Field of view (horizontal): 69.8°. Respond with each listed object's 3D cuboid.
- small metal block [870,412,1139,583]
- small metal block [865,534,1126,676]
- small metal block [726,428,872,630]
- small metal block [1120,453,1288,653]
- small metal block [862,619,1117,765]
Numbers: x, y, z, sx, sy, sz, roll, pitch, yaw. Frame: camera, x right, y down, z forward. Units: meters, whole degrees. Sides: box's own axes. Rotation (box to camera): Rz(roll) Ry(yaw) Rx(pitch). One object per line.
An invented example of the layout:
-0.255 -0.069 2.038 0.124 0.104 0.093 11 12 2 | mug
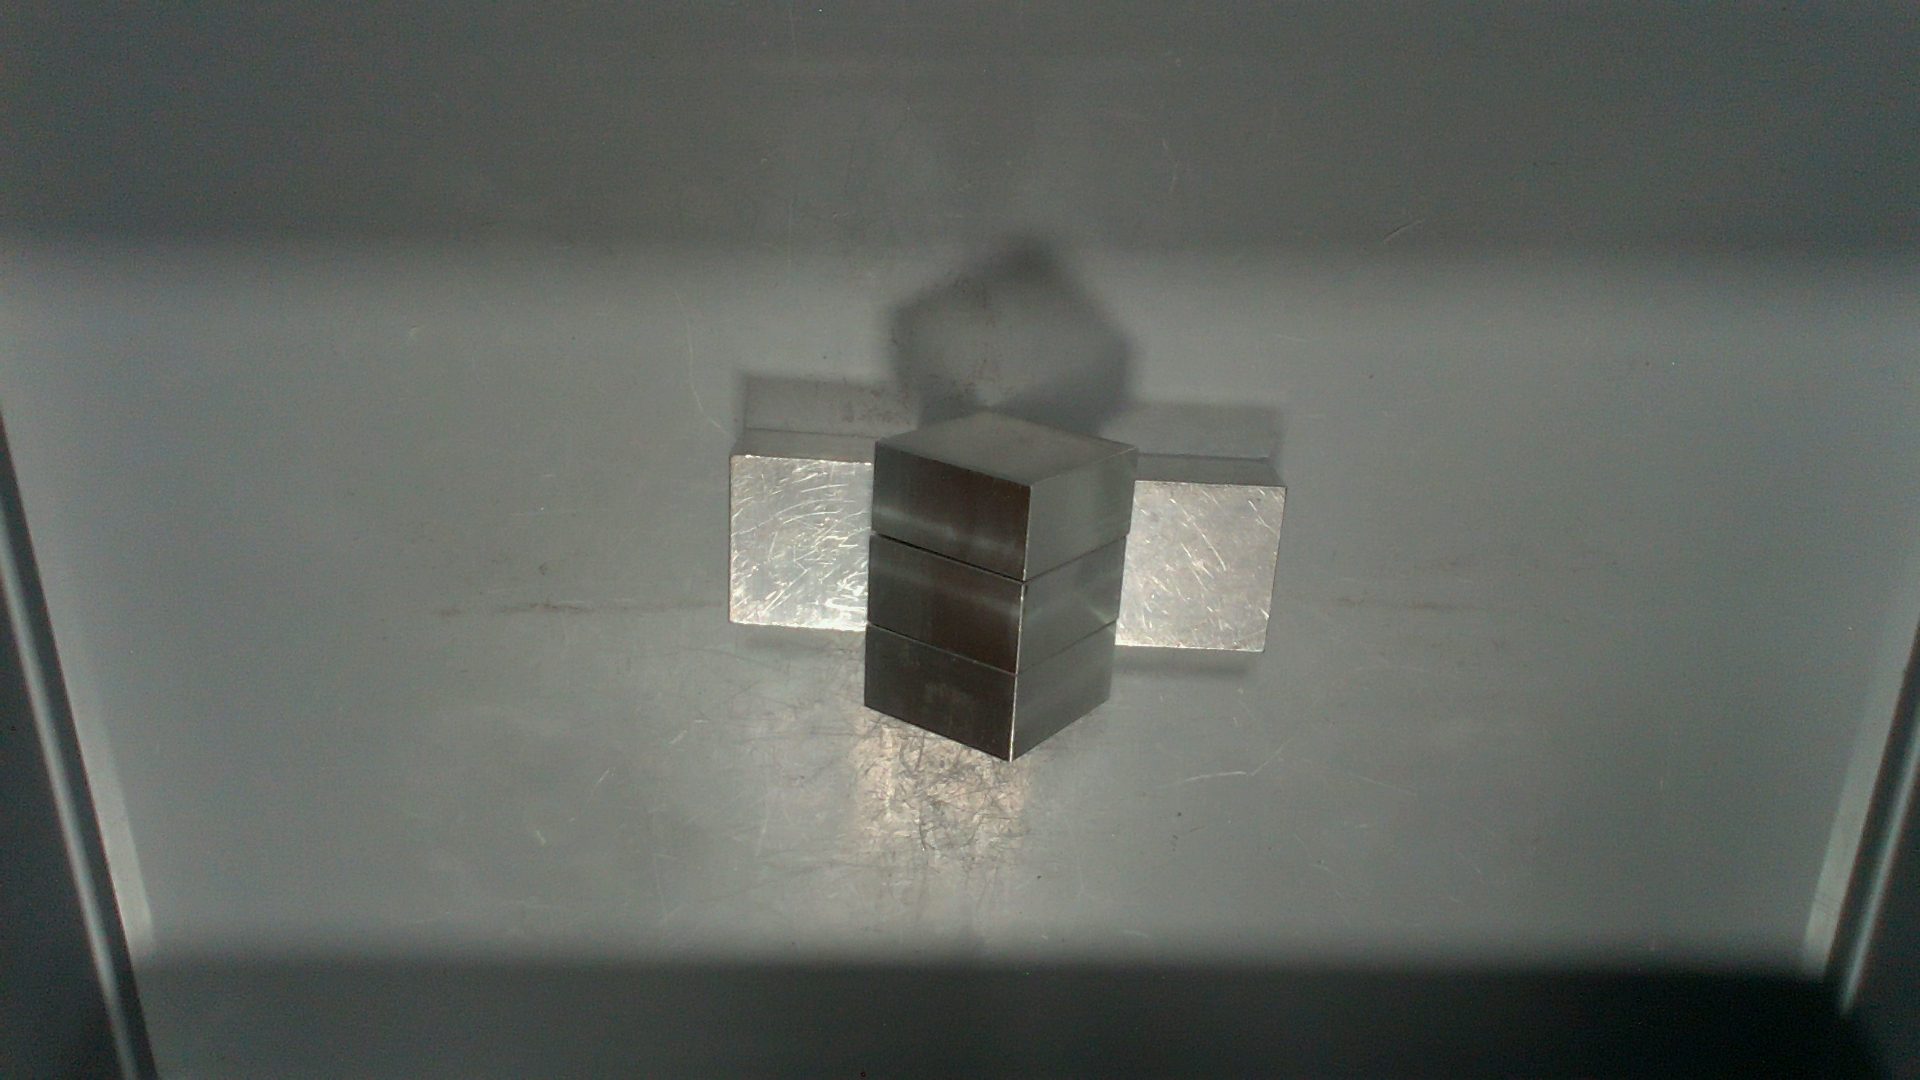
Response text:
0.012 -0.013 0.363 0.050 0.050 0.025 17 114 33 | small metal block
0.010 0.010 0.372 0.050 0.050 0.025 16 114 33 | small metal block
-0.039 -0.003 0.391 0.050 0.025 0.050 3 110 -1 | small metal block
0.063 0.003 0.395 0.050 0.025 0.050 3 110 -1 | small metal block
0.008 0.034 0.381 0.050 0.050 0.025 16 114 33 | small metal block
